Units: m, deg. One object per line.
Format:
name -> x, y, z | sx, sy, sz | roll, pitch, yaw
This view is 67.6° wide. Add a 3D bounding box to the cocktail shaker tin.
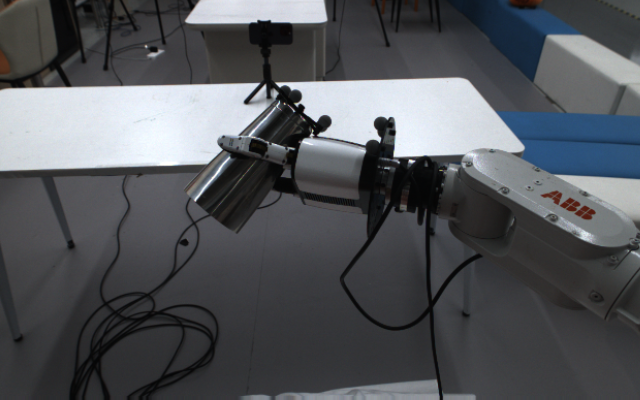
cocktail shaker tin -> -0.089, -0.052, 0.648 | 0.170, 0.093, 0.093 | -48, 49, -4
